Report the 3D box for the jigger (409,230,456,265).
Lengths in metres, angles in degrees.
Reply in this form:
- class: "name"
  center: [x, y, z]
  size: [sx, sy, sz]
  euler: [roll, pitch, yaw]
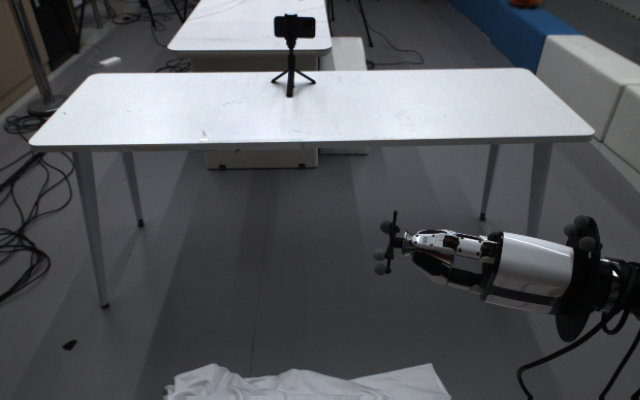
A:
- class: "jigger"
  center: [0.154, 0.060, 0.656]
  size: [0.071, 0.043, 0.043]
  euler: [8, 35, 15]
